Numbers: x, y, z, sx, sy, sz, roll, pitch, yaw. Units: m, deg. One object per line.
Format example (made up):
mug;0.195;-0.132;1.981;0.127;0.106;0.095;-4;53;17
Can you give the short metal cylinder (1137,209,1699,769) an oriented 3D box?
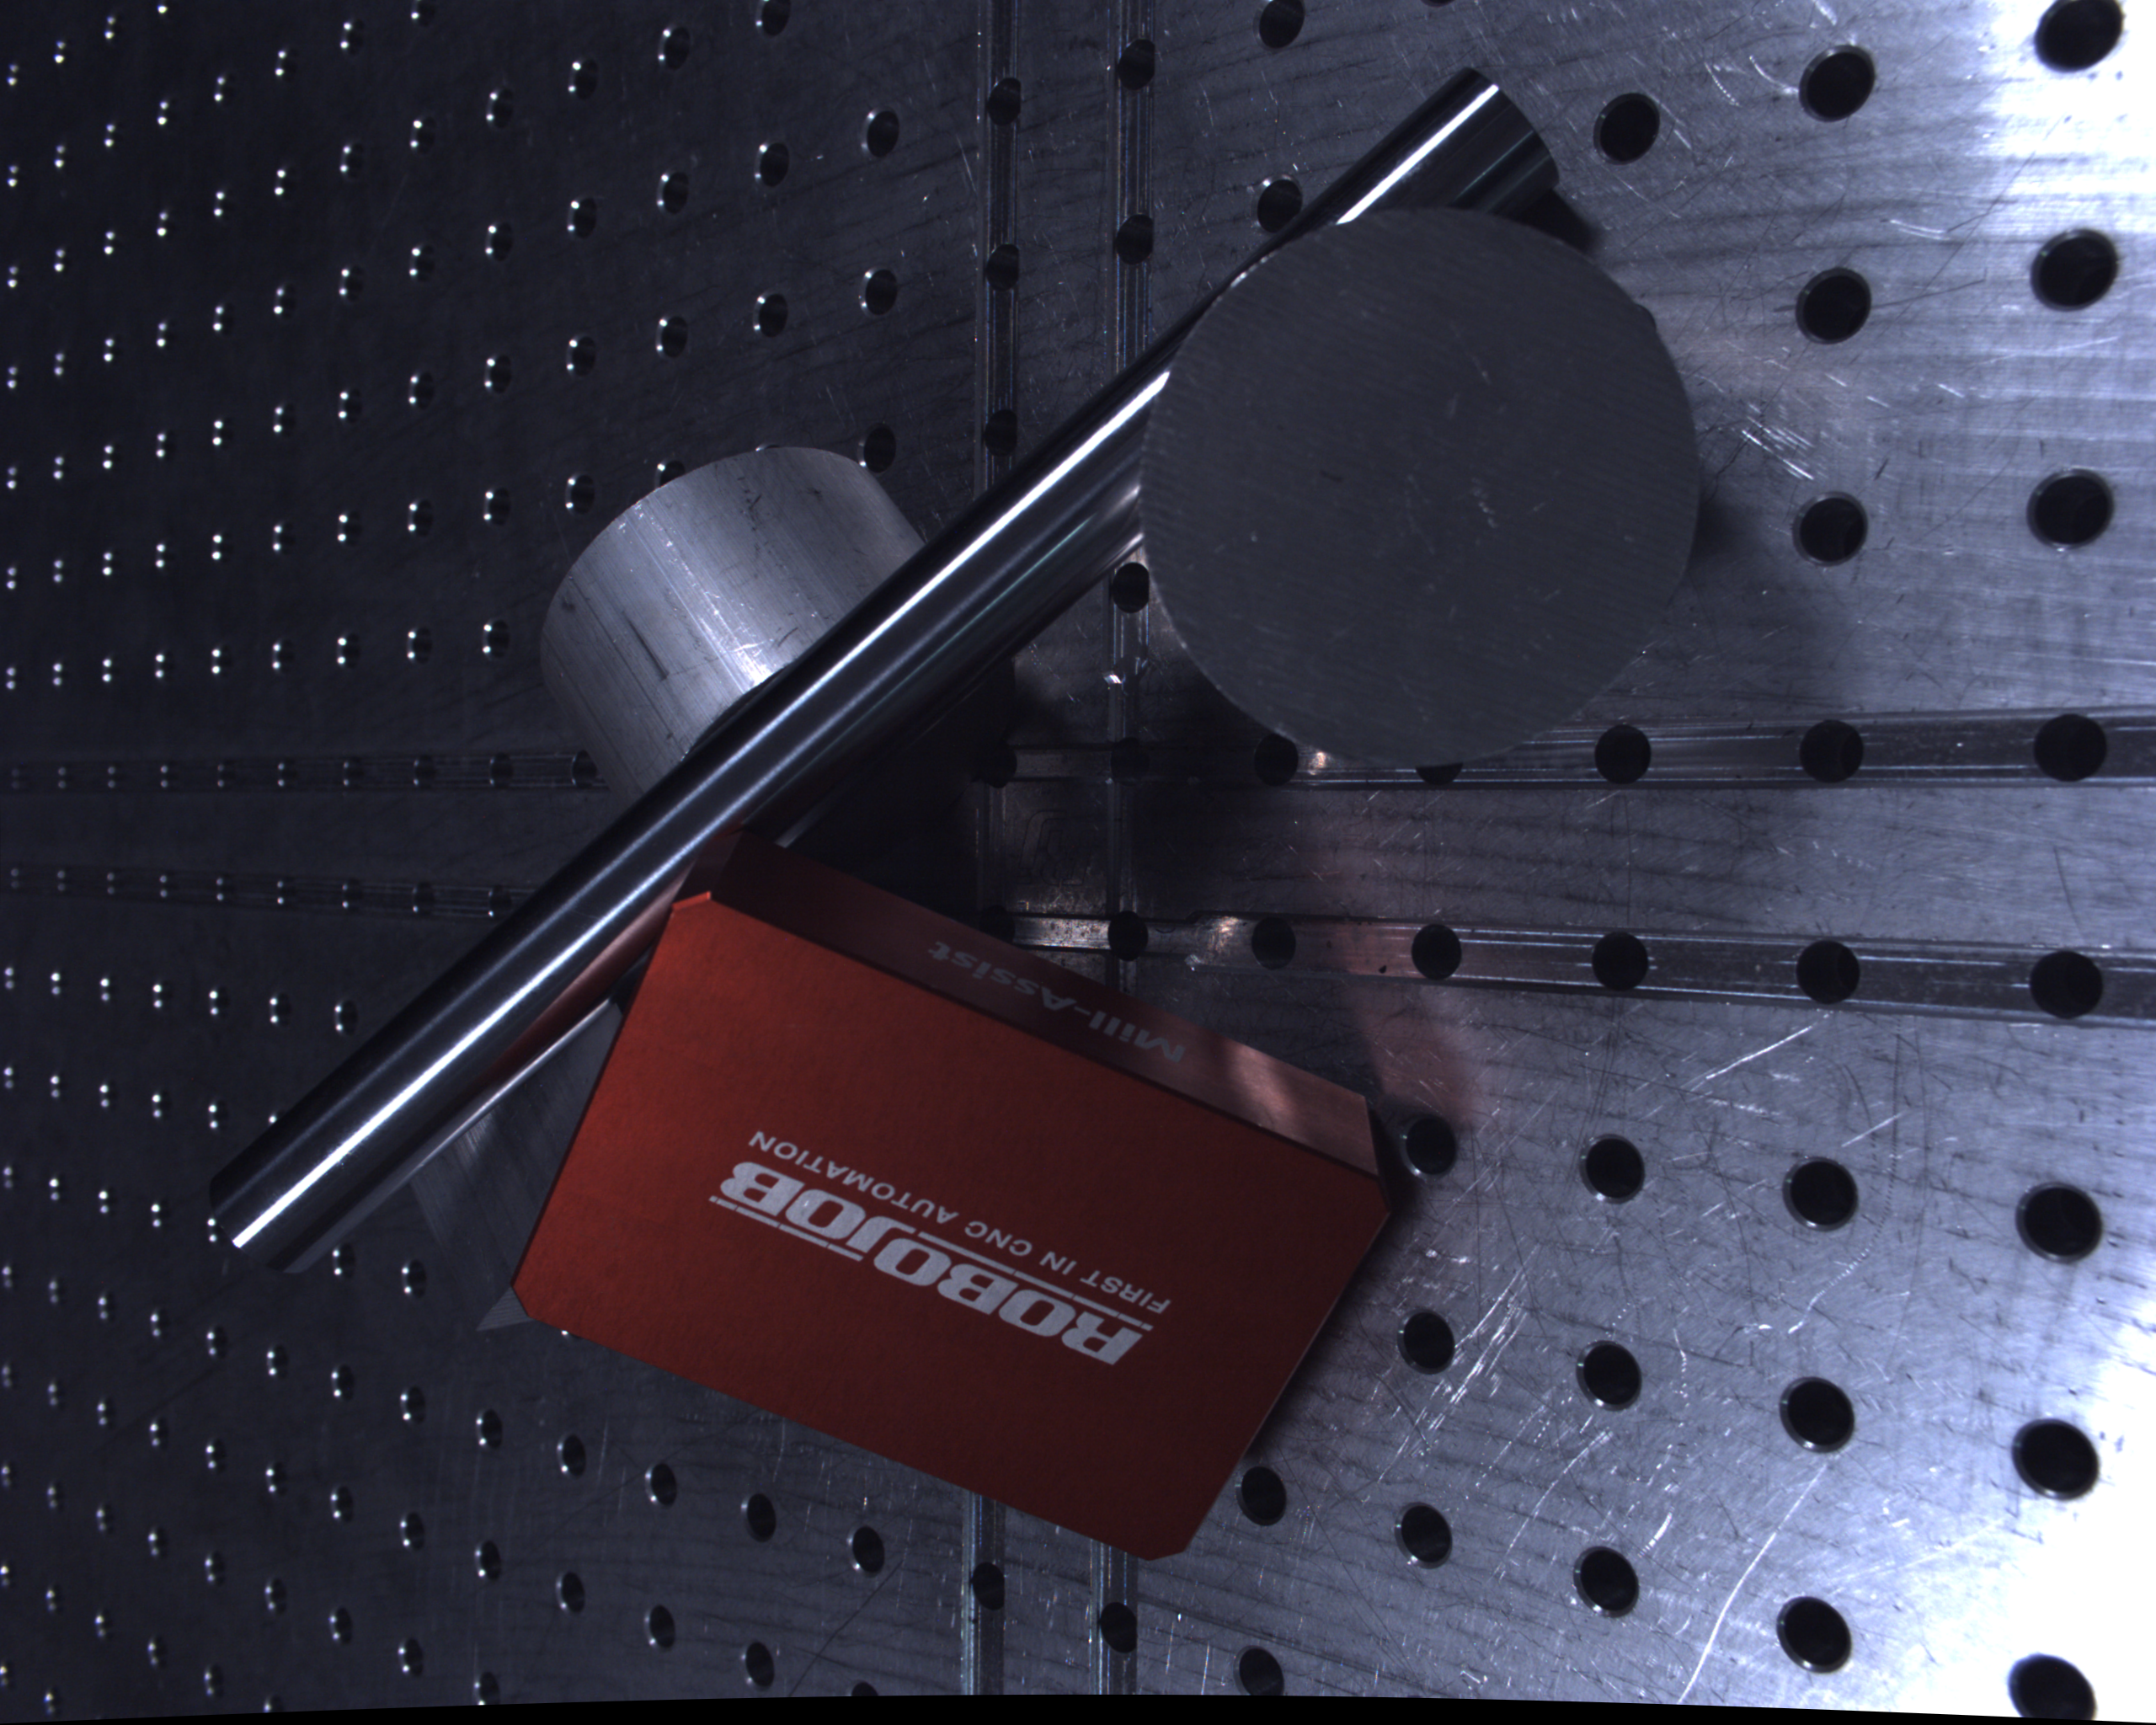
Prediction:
short metal cylinder;0.050;-0.058;0.325;0.080;0.050;0.079;0;102;2

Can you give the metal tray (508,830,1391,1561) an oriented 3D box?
metal tray;-0.023;0.061;0.371;0.131;0.030;0.089;24;110;-7

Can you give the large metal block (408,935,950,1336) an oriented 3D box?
large metal block;-0.085;0.051;0.440;0.080;0.081;0.050;-47;62;29

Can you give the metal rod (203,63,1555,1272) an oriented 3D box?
metal rod;-0.042;-0.028;0.372;0.300;0.025;0.025;-40;64;9

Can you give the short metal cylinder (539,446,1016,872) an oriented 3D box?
short metal cylinder;-0.060;-0.037;0.420;0.080;0.081;0.050;-51;61;28
